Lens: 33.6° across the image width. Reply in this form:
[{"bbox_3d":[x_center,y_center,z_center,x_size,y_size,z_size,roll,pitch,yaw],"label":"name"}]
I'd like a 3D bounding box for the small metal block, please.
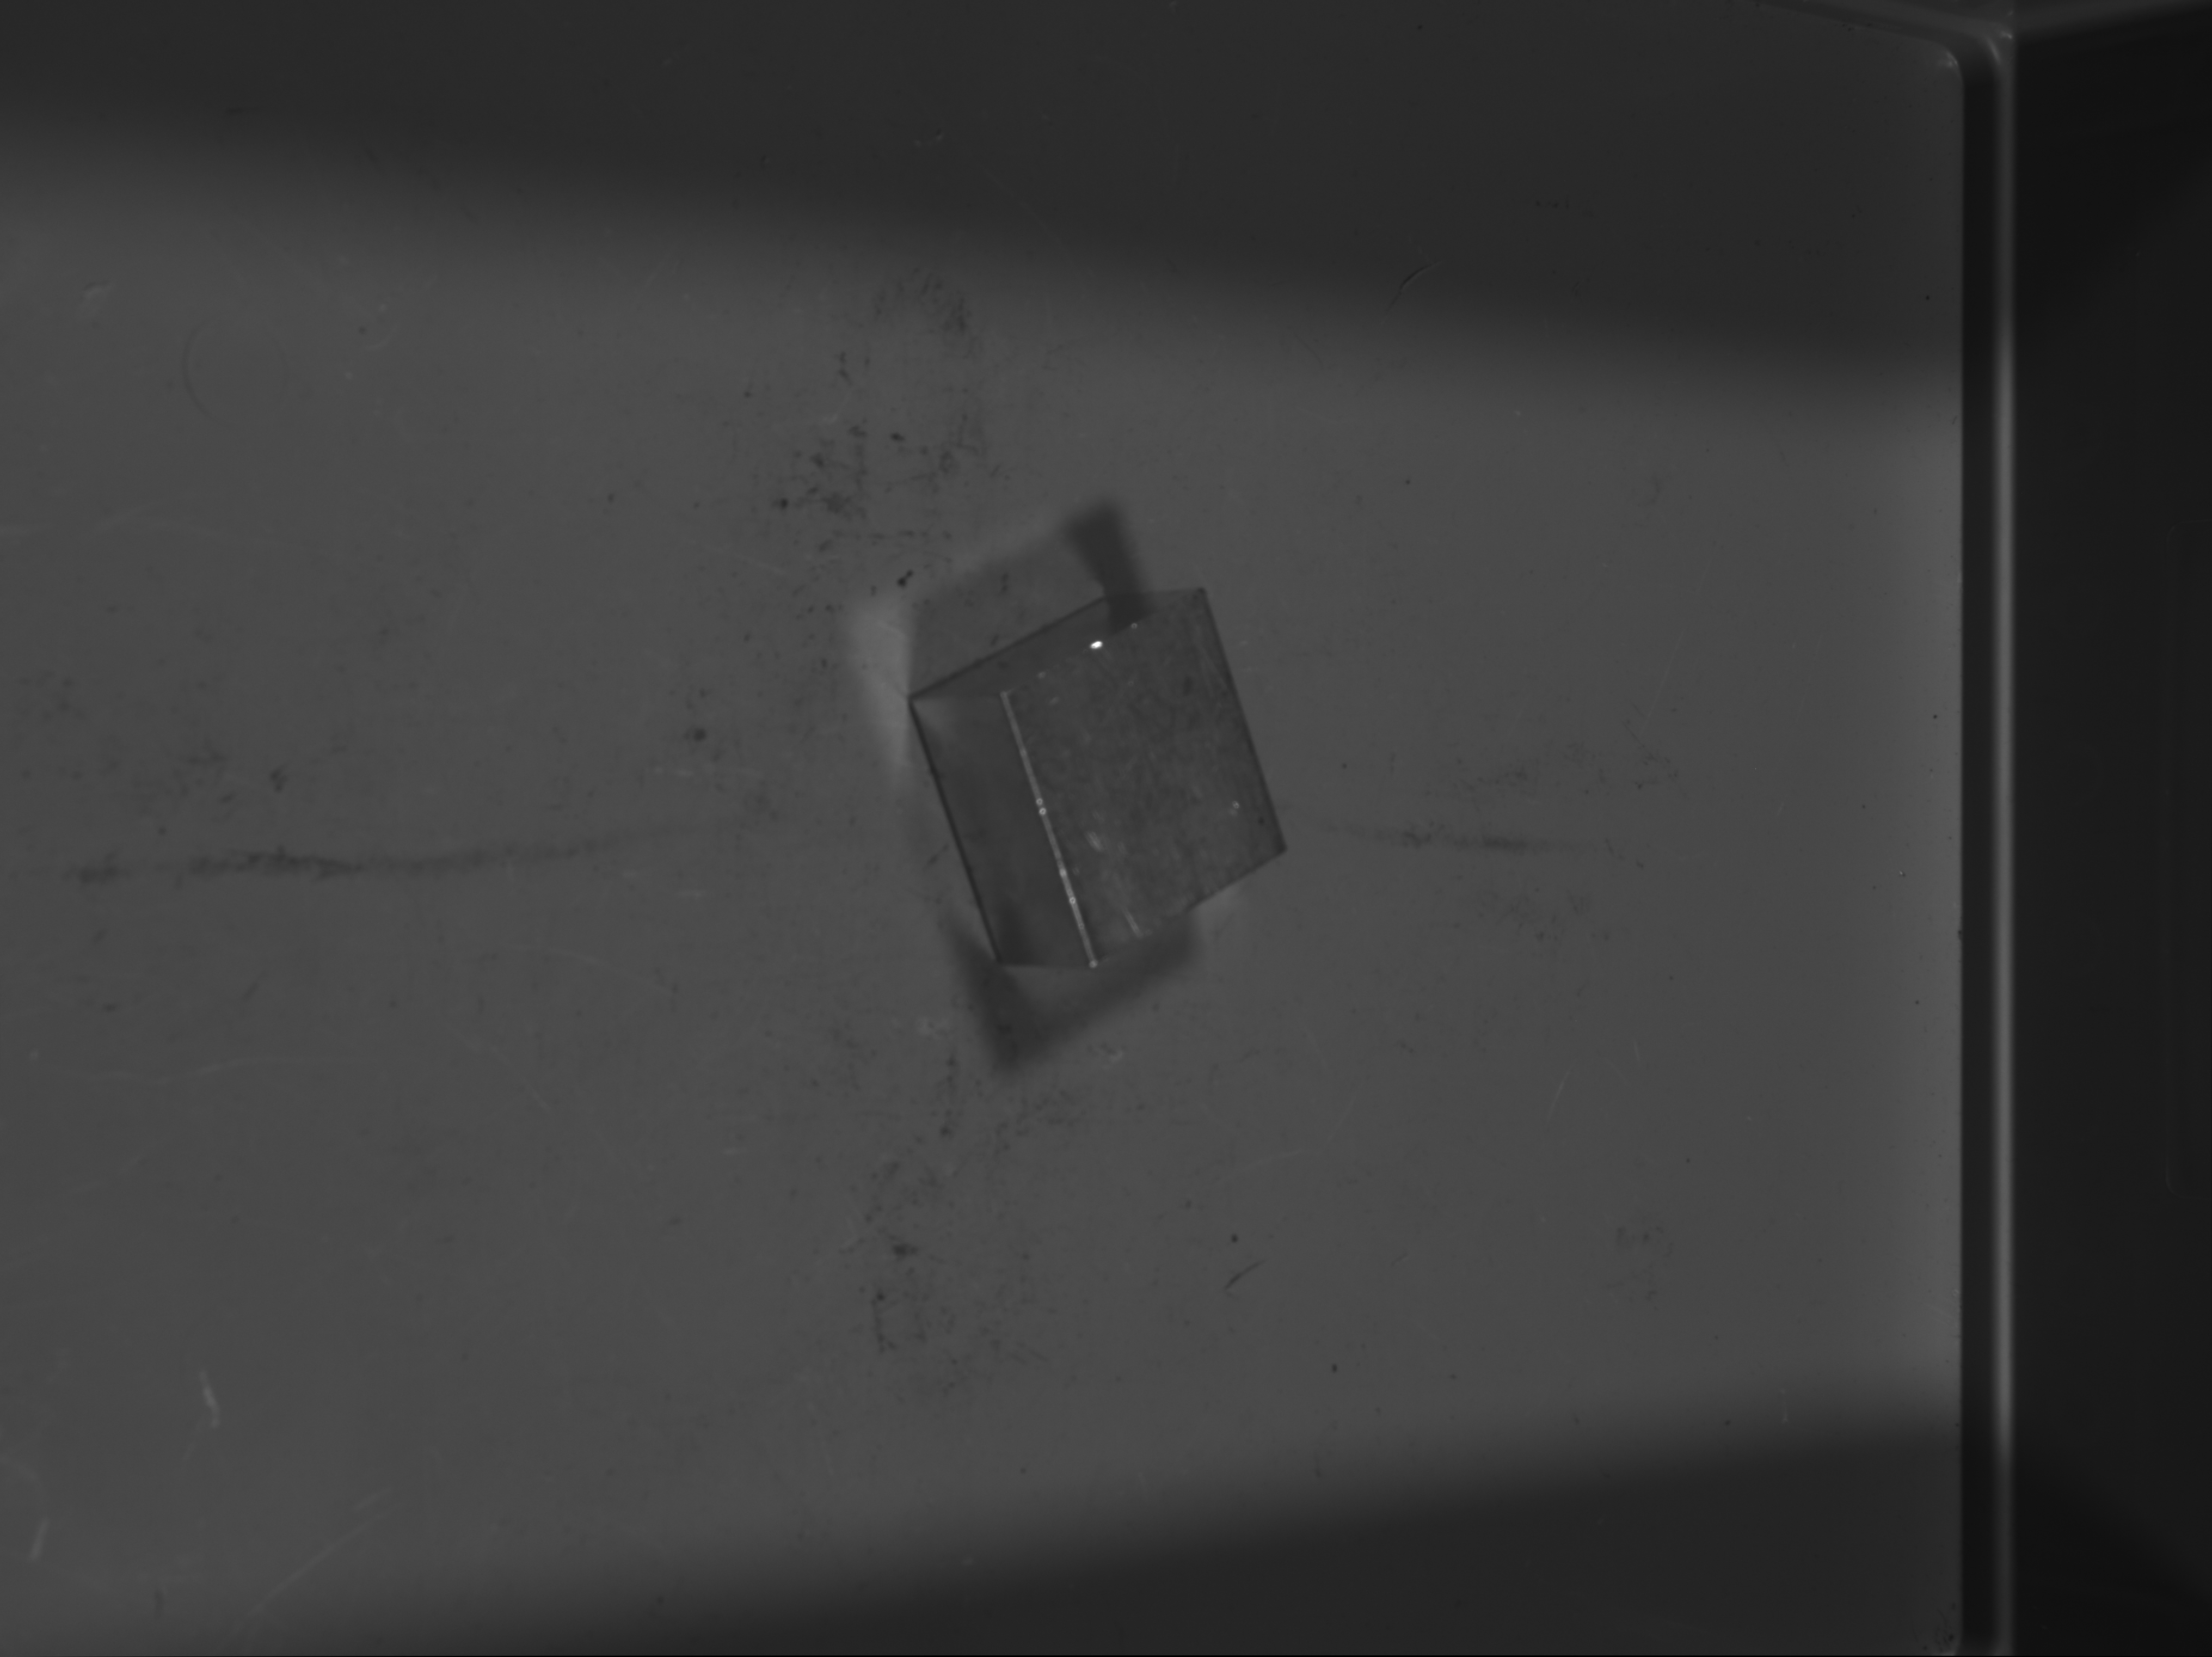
[{"bbox_3d":[0.005,-0.009,0.638,0.050,0.025,0.050,-29,108,-36],"label":"small metal block"}]
